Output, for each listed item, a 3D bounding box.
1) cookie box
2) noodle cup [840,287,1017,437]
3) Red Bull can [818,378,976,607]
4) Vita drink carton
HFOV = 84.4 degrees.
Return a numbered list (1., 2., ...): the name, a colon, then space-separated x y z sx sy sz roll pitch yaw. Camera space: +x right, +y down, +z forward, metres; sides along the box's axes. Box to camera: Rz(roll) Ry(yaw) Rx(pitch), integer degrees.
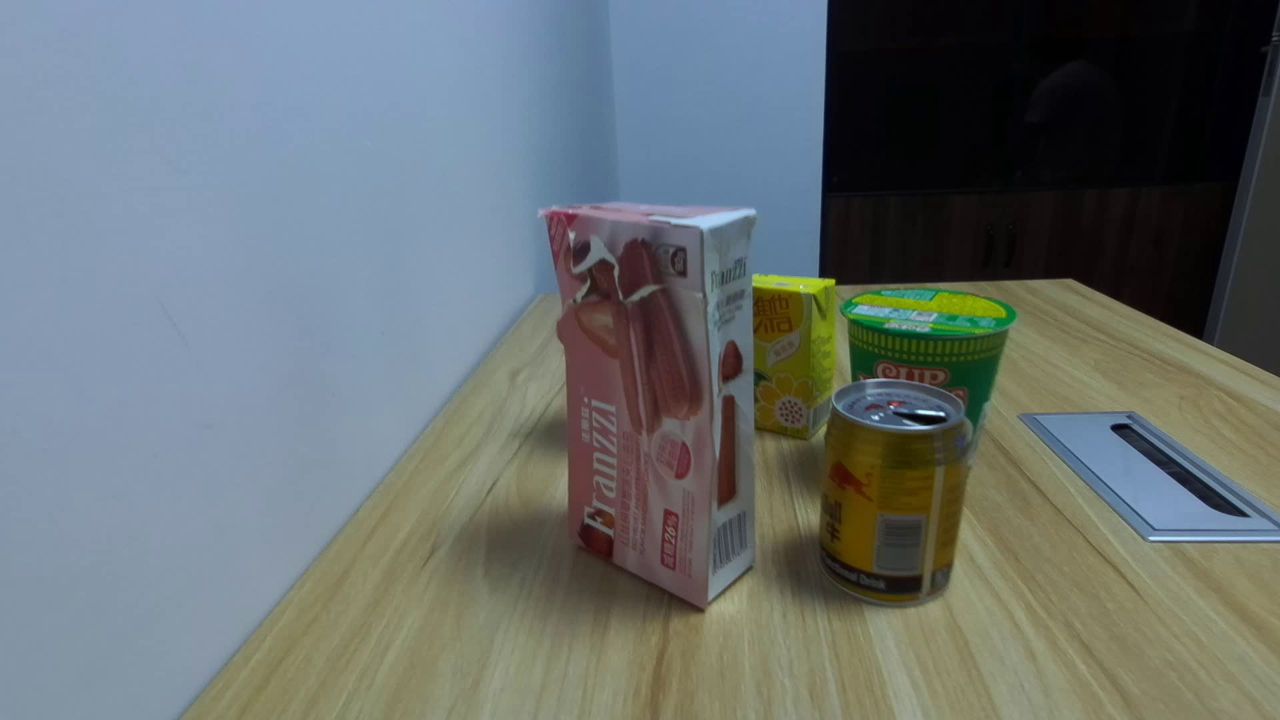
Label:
1. cookie box: 0.006 0.021 0.347 0.104 0.186 0.060 13 23 41
2. noodle cup: 0.170 0.021 0.429 0.097 0.110 0.097 -3 20 1
3. Red Bull can: 0.121 0.062 0.345 0.068 0.093 0.068 -2 20 1
4. Vita drink carton: 0.098 -0.005 0.509 0.076 0.109 0.043 11 23 33
